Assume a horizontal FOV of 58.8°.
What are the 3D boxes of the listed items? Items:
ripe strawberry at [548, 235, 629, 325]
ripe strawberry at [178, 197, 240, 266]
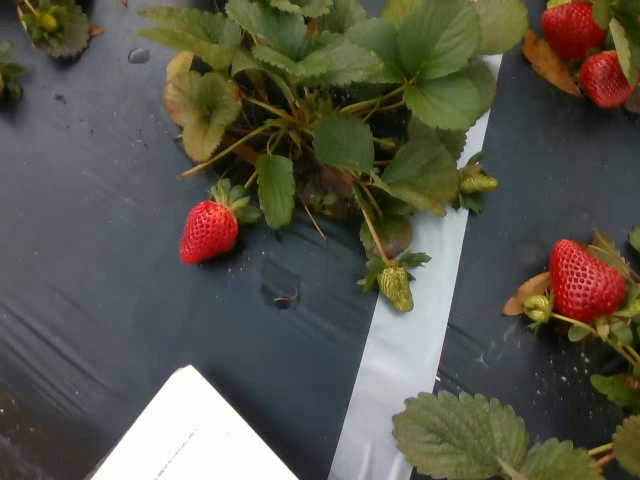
[{"bbox_3d":[0.159,0.022,0.338,0.043,0.062,0.042,-32,-13,29],"label":"ripe strawberry"},{"bbox_3d":[-0.067,-0.003,0.333,0.036,0.046,0.040,32,-27,26],"label":"ripe strawberry"}]
